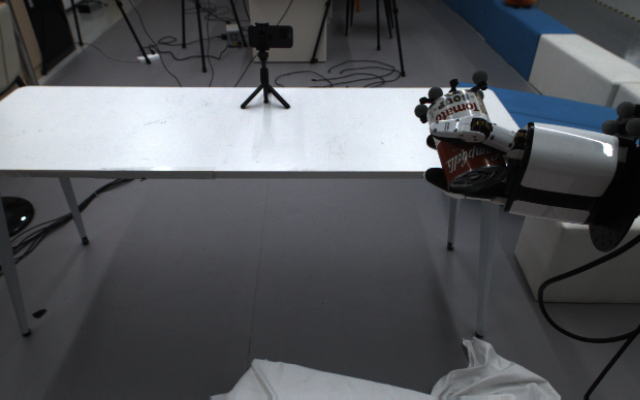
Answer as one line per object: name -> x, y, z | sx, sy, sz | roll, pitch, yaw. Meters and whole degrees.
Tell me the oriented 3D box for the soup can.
soup can -> 0.170, -0.068, 0.562 | 0.067, 0.067, 0.101 | -7, 68, -12
